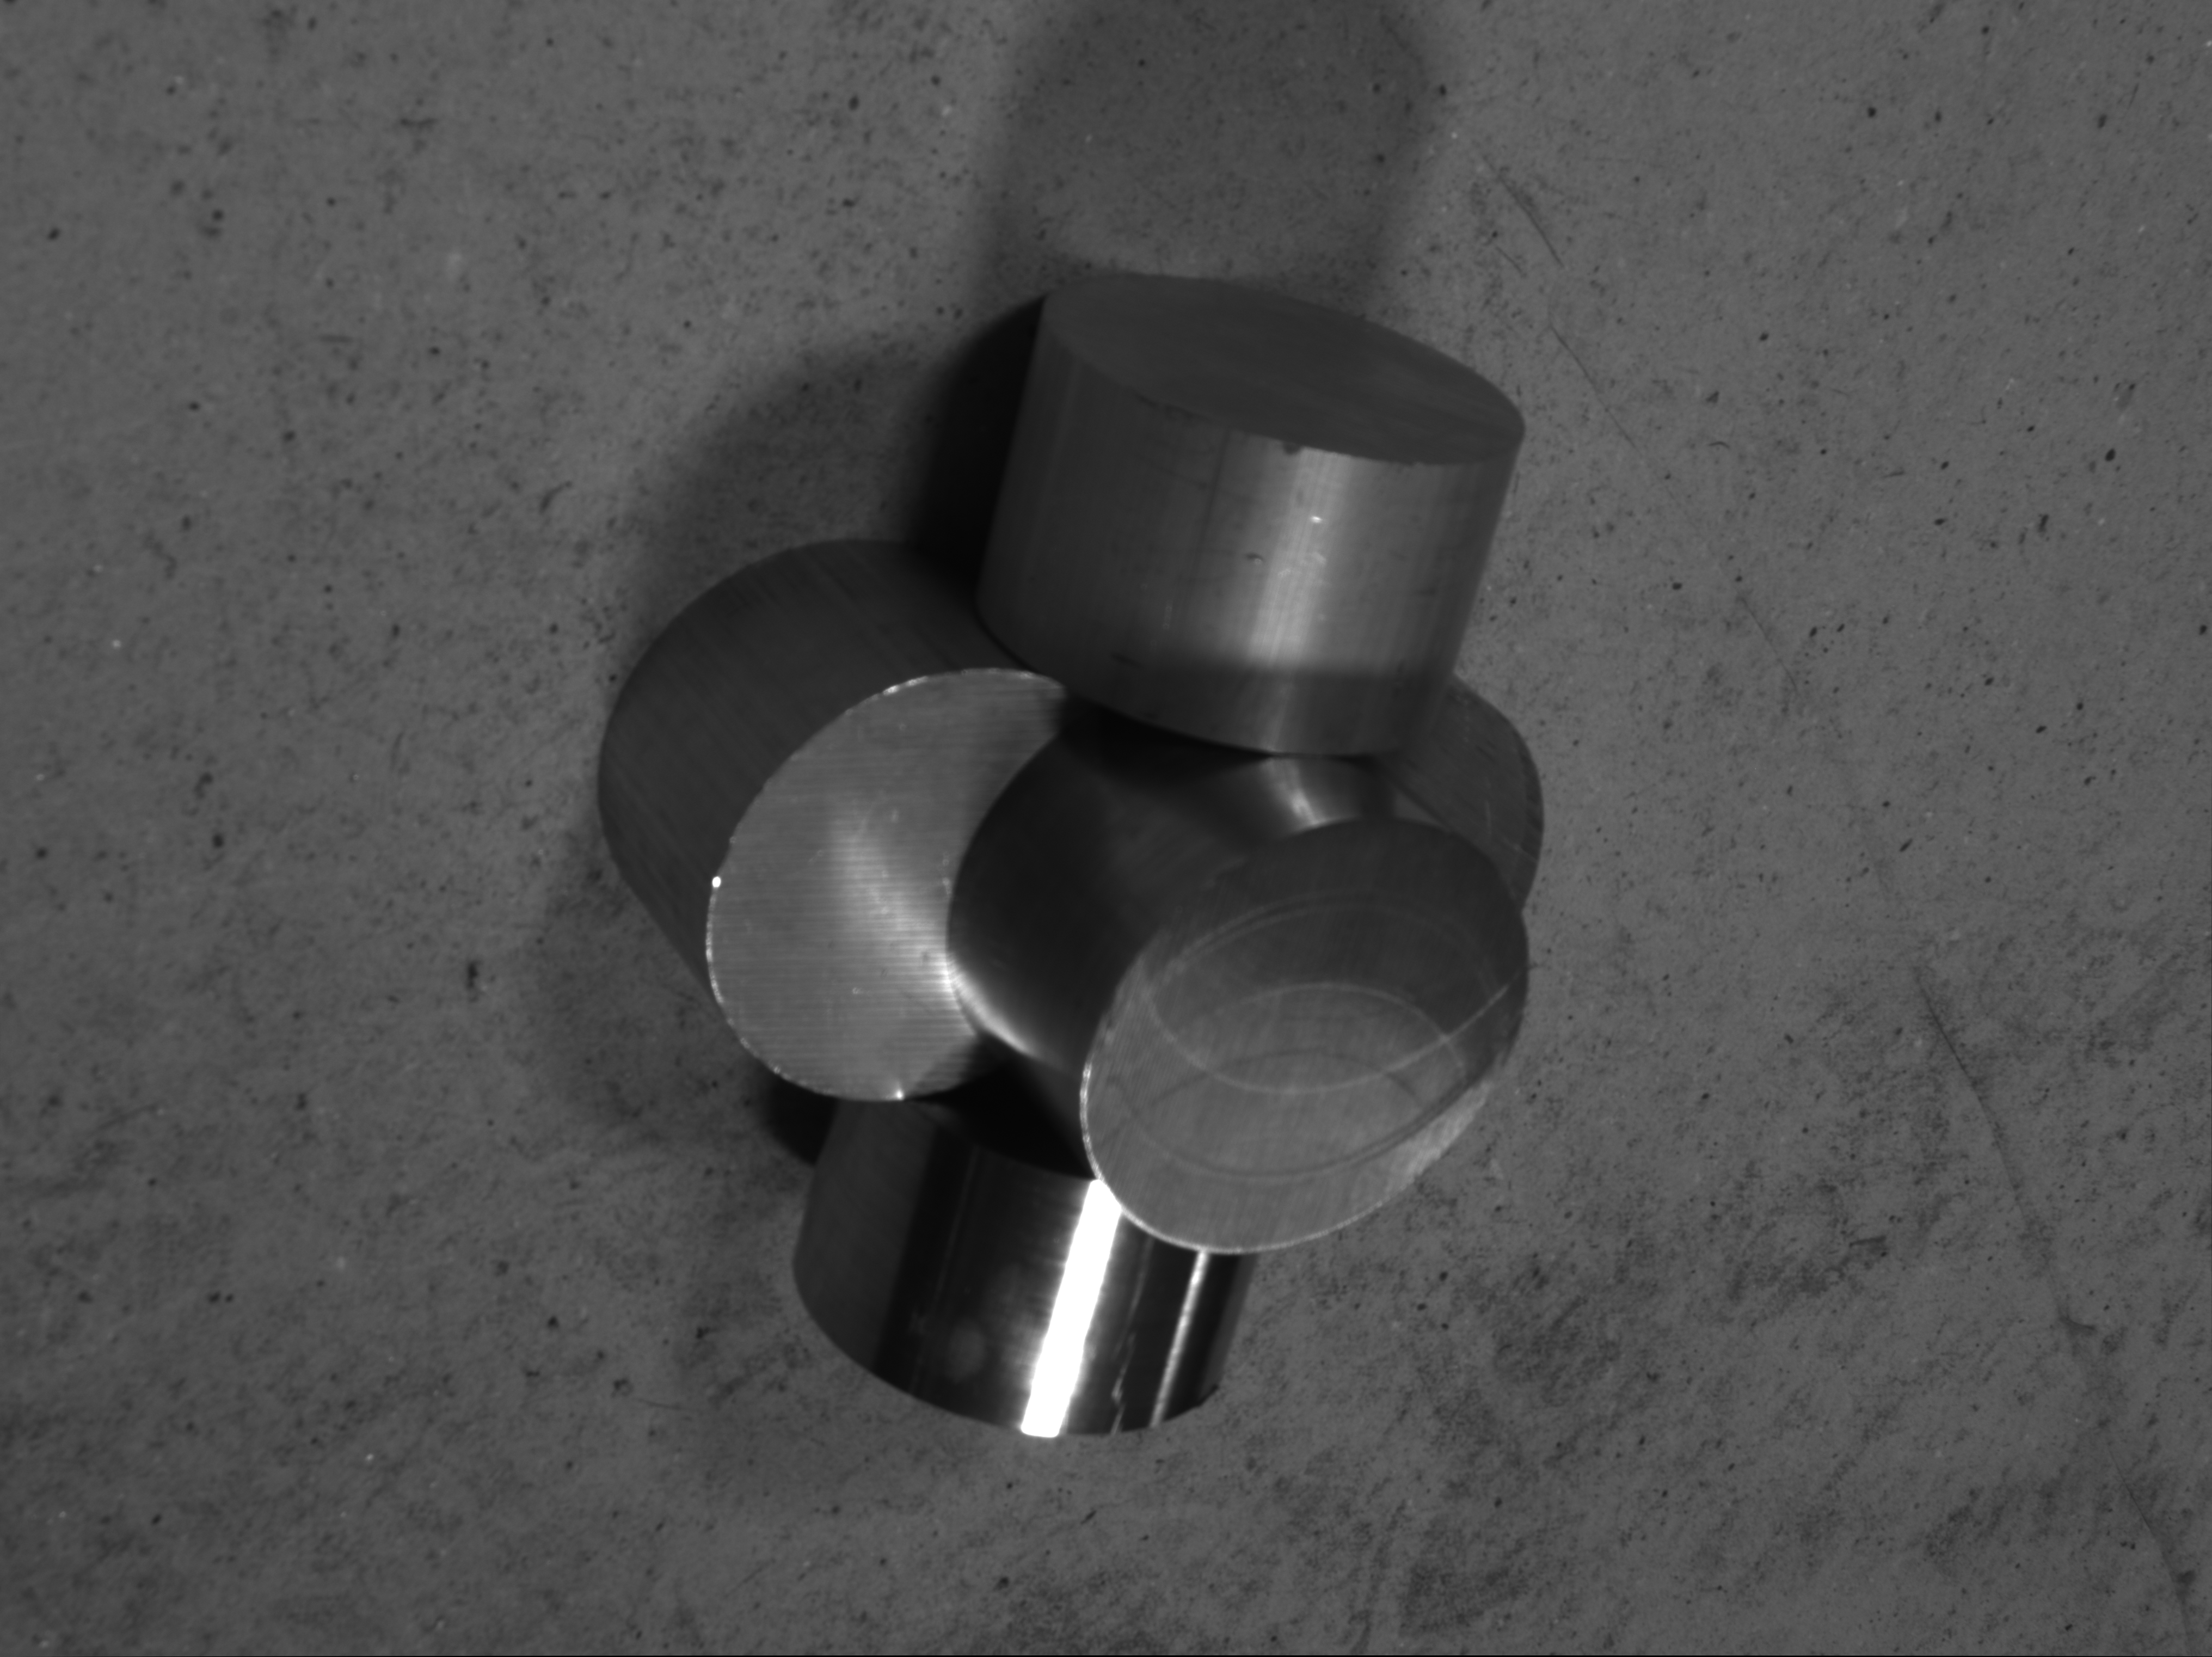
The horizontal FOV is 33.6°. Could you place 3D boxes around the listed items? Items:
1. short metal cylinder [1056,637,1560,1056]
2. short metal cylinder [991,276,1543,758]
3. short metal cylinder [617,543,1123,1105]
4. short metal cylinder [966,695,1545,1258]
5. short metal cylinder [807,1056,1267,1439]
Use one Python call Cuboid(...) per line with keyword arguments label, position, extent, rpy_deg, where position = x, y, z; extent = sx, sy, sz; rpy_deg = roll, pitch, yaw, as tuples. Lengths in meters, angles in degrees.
Cuboid(label="short metal cylinder", position=(0.034, -0.001, 0.653), extent=(0.080, 0.050, 0.080), rpy_deg=(-15, 125, -22))
Cuboid(label="short metal cylinder", position=(0.026, -0.052, 0.598), extent=(0.080, 0.080, 0.050), rpy_deg=(0, 118, -30))
Cuboid(label="short metal cylinder", position=(-0.035, -0.001, 0.613), extent=(0.080, 0.050, 0.080), rpy_deg=(-15, 125, -22))
Cuboid(label="short metal cylinder", position=(0.024, 0.023, 0.596), extent=(0.080, 0.050, 0.080), rpy_deg=(-15, 125, -22))
Cuboid(label="short metal cylinder", position=(-0.009, 0.064, 0.650), extent=(0.080, 0.080, 0.050), rpy_deg=(0, 118, -30))
